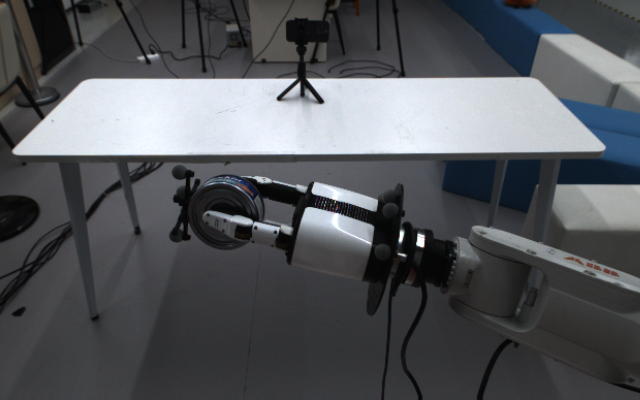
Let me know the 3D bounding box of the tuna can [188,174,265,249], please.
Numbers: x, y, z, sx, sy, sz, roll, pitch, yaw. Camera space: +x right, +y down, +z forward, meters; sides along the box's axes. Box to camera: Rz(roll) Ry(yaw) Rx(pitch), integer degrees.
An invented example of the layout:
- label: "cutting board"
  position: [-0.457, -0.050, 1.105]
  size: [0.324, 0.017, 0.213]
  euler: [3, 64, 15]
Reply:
- label: "tuna can"
  position: [-0.108, 0.014, 0.571]
  size: [0.085, 0.085, 0.034]
  euler: [4, 18, 3]
